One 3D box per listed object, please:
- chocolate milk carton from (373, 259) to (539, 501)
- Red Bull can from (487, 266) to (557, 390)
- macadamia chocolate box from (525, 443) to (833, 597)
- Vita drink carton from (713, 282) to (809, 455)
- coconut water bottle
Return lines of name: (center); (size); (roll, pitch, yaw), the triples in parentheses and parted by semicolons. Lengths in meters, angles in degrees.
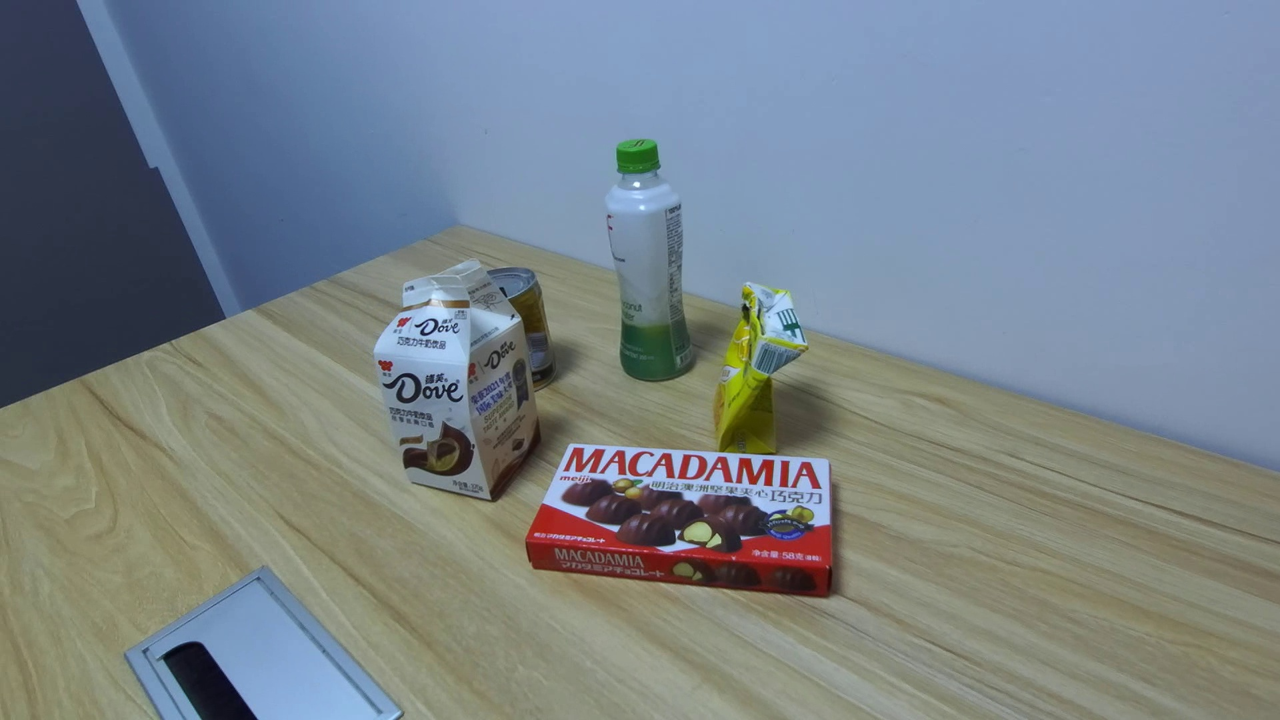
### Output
chocolate milk carton: (-0.125, 0.009, 0.484); (0.076, 0.156, 0.074); (8, 33, 22)
Red Bull can: (-0.110, -0.025, 0.594); (0.072, 0.092, 0.072); (-3, 31, 2)
macadamia chocolate box: (0.028, 0.095, 0.440); (0.177, 0.027, 0.095); (2, 32, 13)
Vita drink carton: (0.084, 0.010, 0.493); (0.042, 0.108, 0.087); (9, 33, -2)
coconut water bottle: (0.007, -0.077, 0.564); (0.063, 0.189, 0.063); (-4, 29, 3)
